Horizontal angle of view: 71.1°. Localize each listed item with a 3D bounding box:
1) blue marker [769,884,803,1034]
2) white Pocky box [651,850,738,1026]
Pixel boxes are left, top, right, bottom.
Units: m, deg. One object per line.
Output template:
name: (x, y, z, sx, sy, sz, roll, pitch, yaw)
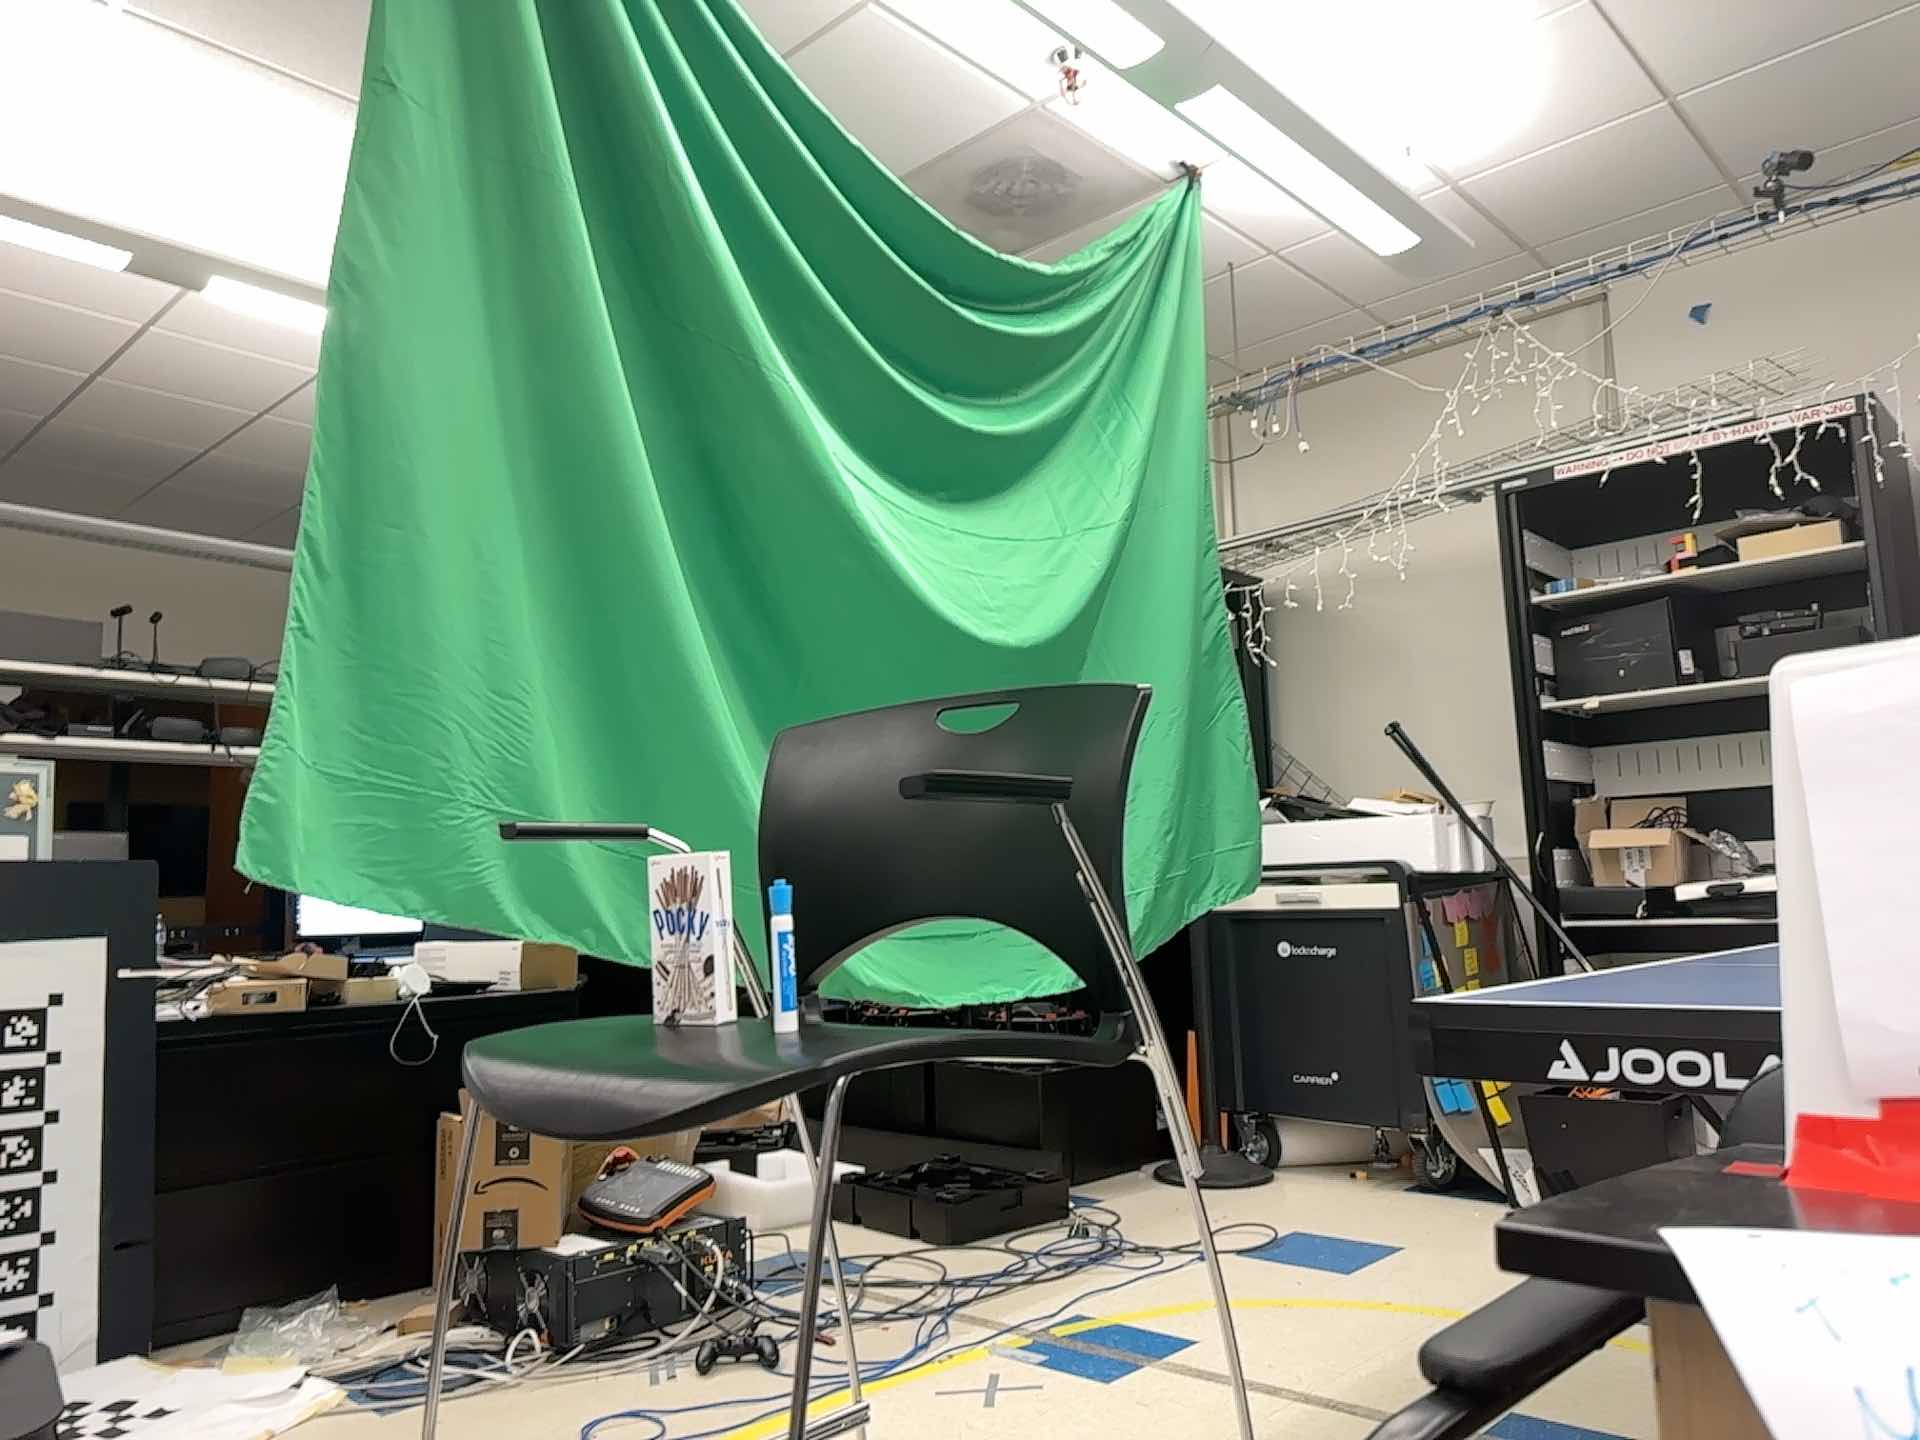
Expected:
blue marker: (-0.145, 0.197, 1.115, 0.020, 0.121, 0.020, -5, -4, 0)
white Pocky box: (-0.243, 0.197, 1.224, 0.084, 0.154, 0.028, -6, -5, 37)
